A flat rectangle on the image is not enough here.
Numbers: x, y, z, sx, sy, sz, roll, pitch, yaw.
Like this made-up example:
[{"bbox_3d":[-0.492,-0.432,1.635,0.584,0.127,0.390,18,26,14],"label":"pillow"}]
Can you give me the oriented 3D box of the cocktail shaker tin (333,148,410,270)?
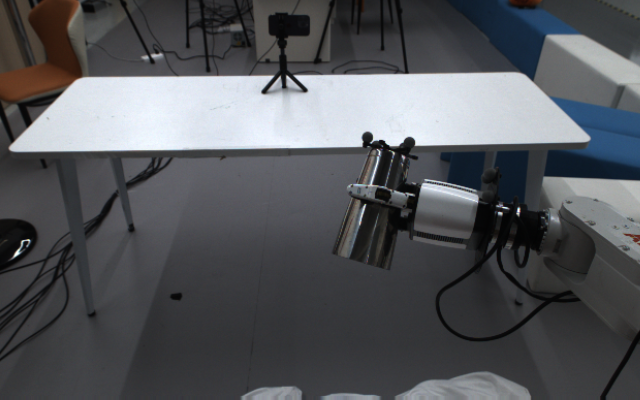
[{"bbox_3d":[0.083,0.011,0.739,0.093,0.170,0.093,16,-6,2],"label":"cocktail shaker tin"}]
